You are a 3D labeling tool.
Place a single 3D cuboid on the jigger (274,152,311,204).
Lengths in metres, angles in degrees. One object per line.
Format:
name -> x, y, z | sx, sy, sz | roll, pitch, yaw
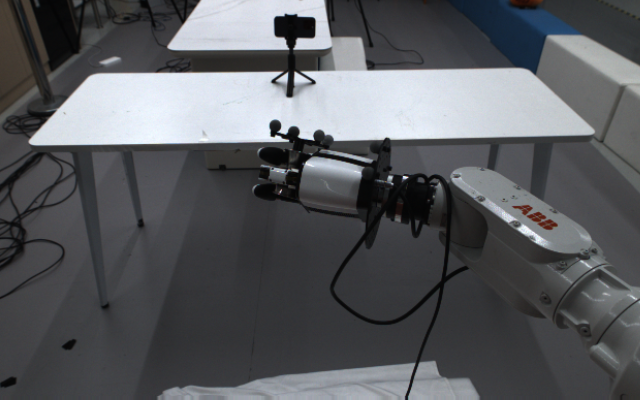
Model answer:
jigger -> -0.038, -0.038, 0.714 | 0.043, 0.071, 0.043 | 14, 1, 0
